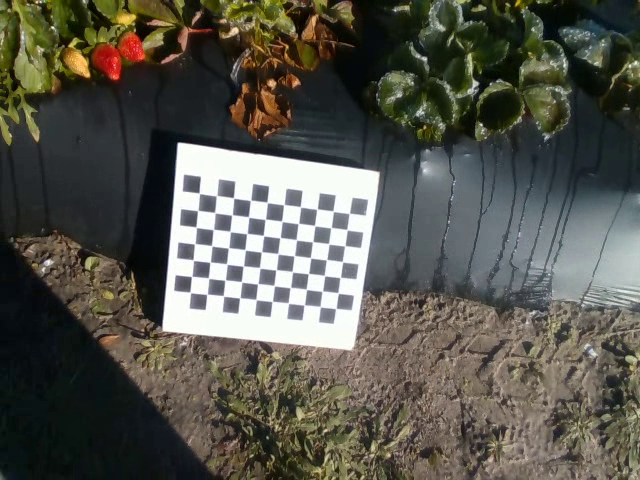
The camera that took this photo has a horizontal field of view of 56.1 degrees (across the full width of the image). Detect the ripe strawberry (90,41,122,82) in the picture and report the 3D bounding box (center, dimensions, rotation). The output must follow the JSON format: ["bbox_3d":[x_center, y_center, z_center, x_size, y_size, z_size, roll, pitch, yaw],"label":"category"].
[{"bbox_3d":[-0.254,-0.211,0.729,0.036,0.052,0.040,-31,-26,-2],"label":"ripe strawberry"}]

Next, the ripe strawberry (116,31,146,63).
[{"bbox_3d":[-0.229,-0.238,0.746,0.041,0.036,0.030,35,4,-6],"label":"ripe strawberry"}]
